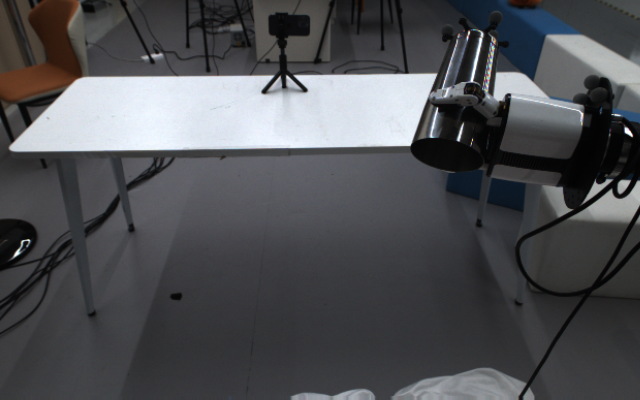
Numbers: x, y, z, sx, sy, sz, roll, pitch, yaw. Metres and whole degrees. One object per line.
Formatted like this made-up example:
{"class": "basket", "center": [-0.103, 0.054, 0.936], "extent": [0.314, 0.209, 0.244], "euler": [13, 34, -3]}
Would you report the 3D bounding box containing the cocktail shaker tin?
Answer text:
{"class": "cocktail shaker tin", "center": [0.184, -0.134, 0.634], "extent": [0.093, 0.093, 0.170], "euler": [14, 72, 16]}
